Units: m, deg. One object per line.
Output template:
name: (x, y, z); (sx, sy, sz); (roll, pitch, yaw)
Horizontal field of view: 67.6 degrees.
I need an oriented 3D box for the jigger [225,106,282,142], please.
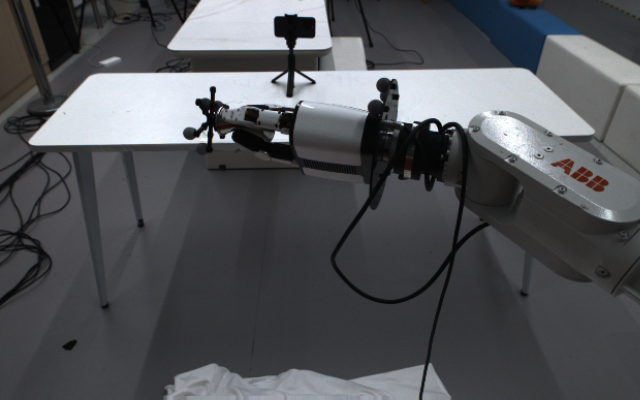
jigger: (-0.092, -0.105, 0.636); (0.071, 0.043, 0.043); (8, 35, 15)
